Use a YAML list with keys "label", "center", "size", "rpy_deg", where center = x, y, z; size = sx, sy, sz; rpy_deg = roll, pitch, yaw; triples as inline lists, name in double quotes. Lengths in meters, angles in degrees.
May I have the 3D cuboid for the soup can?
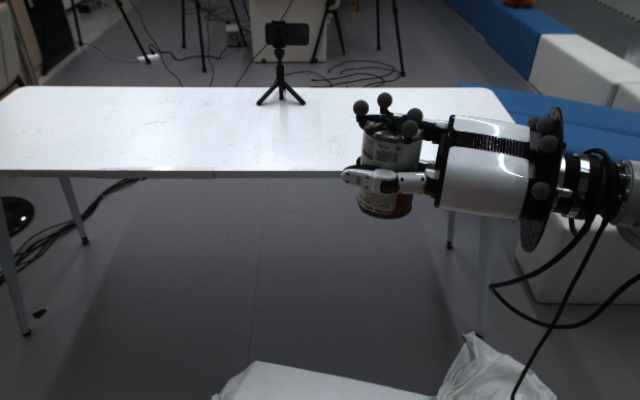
- label: "soup can"
  center: [0.081, -0.038, 0.563]
  size: [0.067, 0.101, 0.067]
  rpy_deg: [2, 32, -1]
